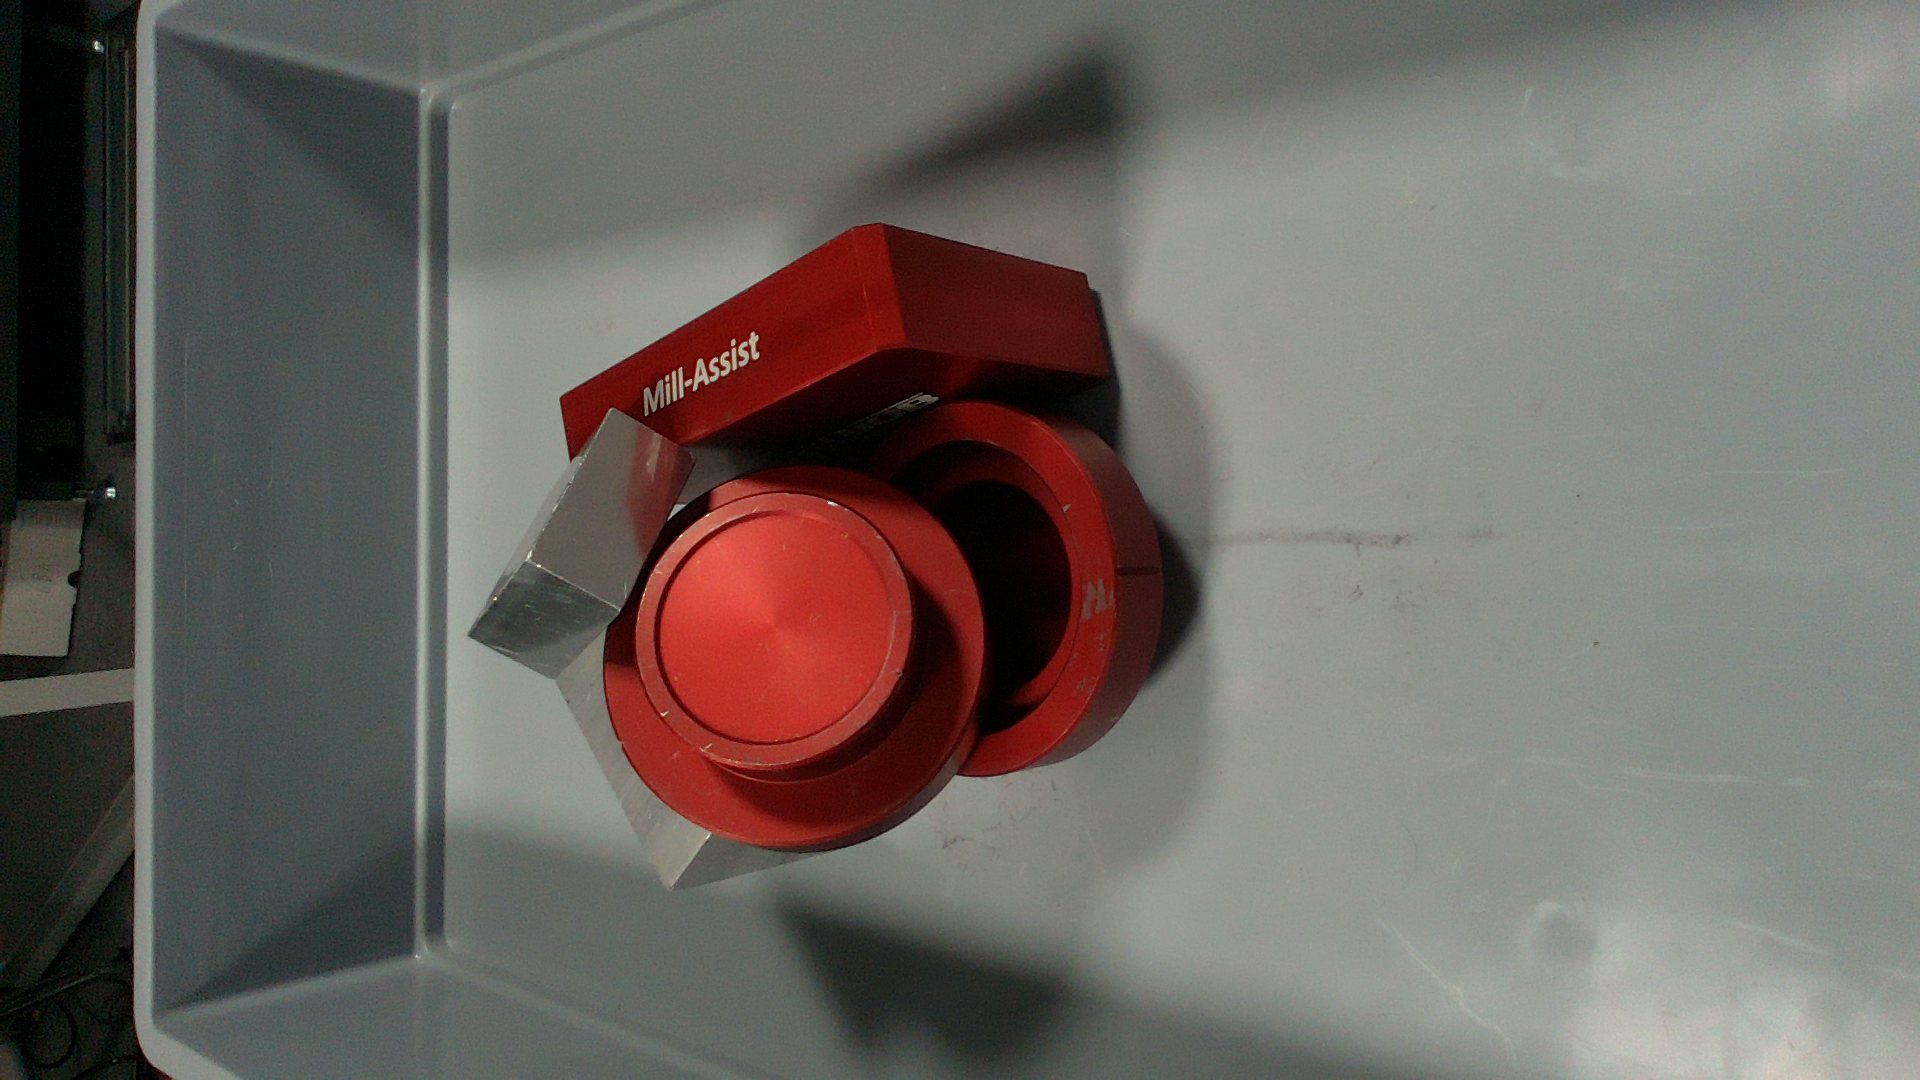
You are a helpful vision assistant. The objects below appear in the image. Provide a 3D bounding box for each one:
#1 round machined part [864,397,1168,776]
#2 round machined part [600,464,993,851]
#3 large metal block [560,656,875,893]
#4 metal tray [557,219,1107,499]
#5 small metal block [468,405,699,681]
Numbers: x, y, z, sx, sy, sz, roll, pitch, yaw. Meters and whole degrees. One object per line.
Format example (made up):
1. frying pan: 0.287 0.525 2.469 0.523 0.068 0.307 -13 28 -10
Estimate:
1. round machined part: 0.015 0.012 0.371 0.098 0.042 0.098 0 90 40
2. round machined part: -0.042 0.027 0.342 0.098 0.042 0.098 -1 72 5
3. large metal block: -0.061 0.049 0.409 0.050 0.080 0.080 -52 60 28
4. metal tray: -0.037 -0.042 0.381 0.129 0.090 0.030 -20 78 38
5. small metal block: -0.097 0.002 0.354 0.050 0.025 0.050 -38 27 48
